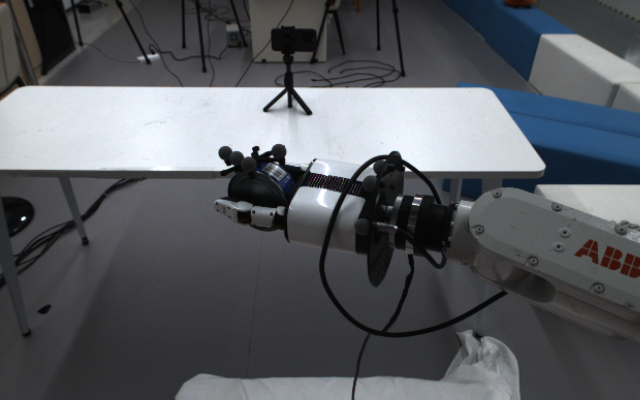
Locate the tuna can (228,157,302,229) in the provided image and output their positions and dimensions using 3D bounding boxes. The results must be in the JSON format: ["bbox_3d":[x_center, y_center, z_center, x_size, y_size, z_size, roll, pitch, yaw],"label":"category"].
[{"bbox_3d":[-0.068,-0.006,0.604,0.085,0.085,0.034,17,36,20],"label":"tuna can"}]
